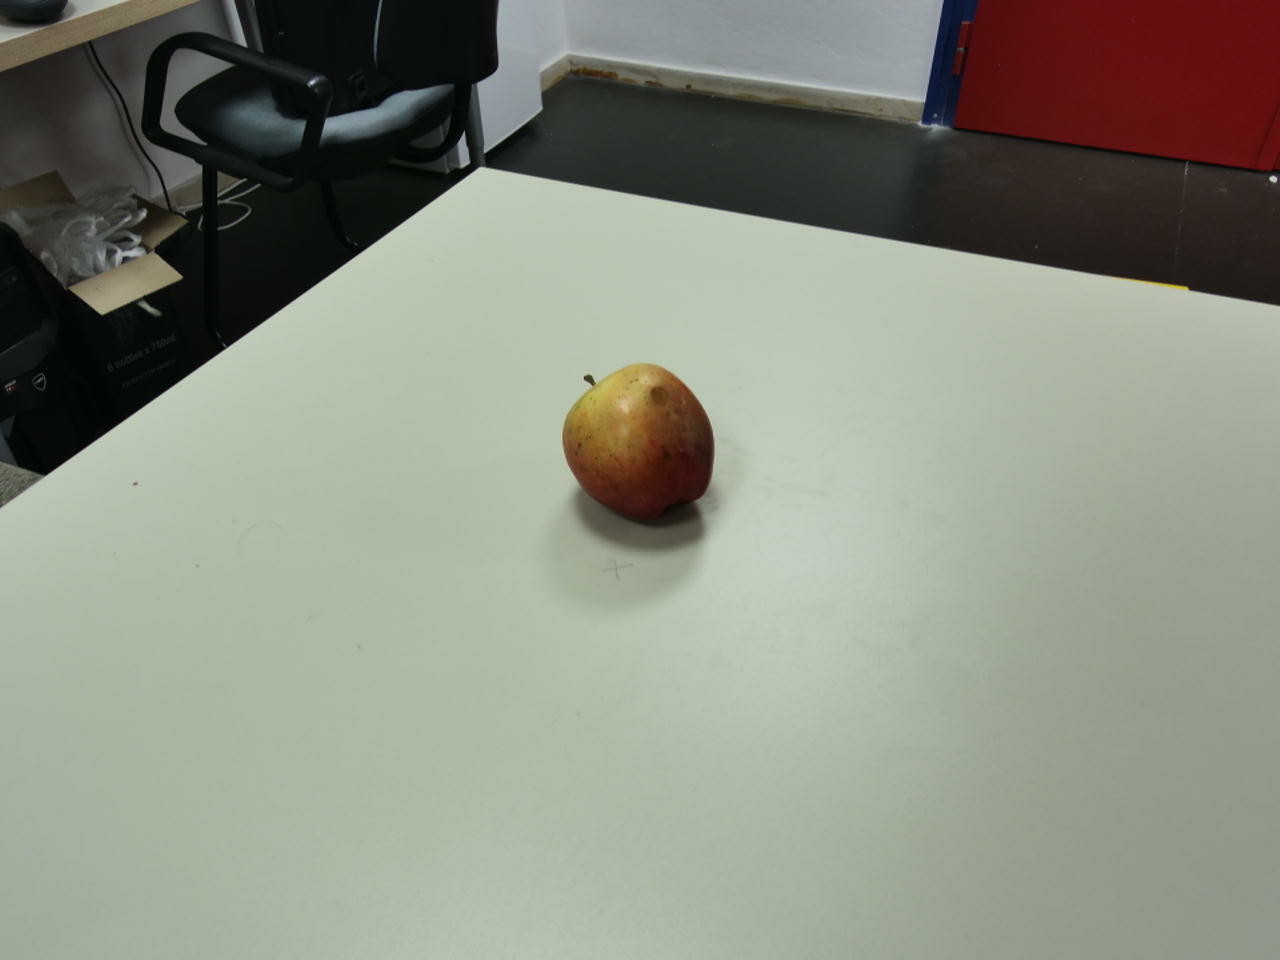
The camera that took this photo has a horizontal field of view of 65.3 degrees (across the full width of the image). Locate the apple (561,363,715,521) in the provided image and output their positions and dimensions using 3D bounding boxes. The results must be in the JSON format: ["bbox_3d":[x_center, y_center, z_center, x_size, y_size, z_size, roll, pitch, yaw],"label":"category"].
[{"bbox_3d":[-0.001,-0.023,0.576,0.086,0.084,0.093,-9,39,-8],"label":"apple"}]
